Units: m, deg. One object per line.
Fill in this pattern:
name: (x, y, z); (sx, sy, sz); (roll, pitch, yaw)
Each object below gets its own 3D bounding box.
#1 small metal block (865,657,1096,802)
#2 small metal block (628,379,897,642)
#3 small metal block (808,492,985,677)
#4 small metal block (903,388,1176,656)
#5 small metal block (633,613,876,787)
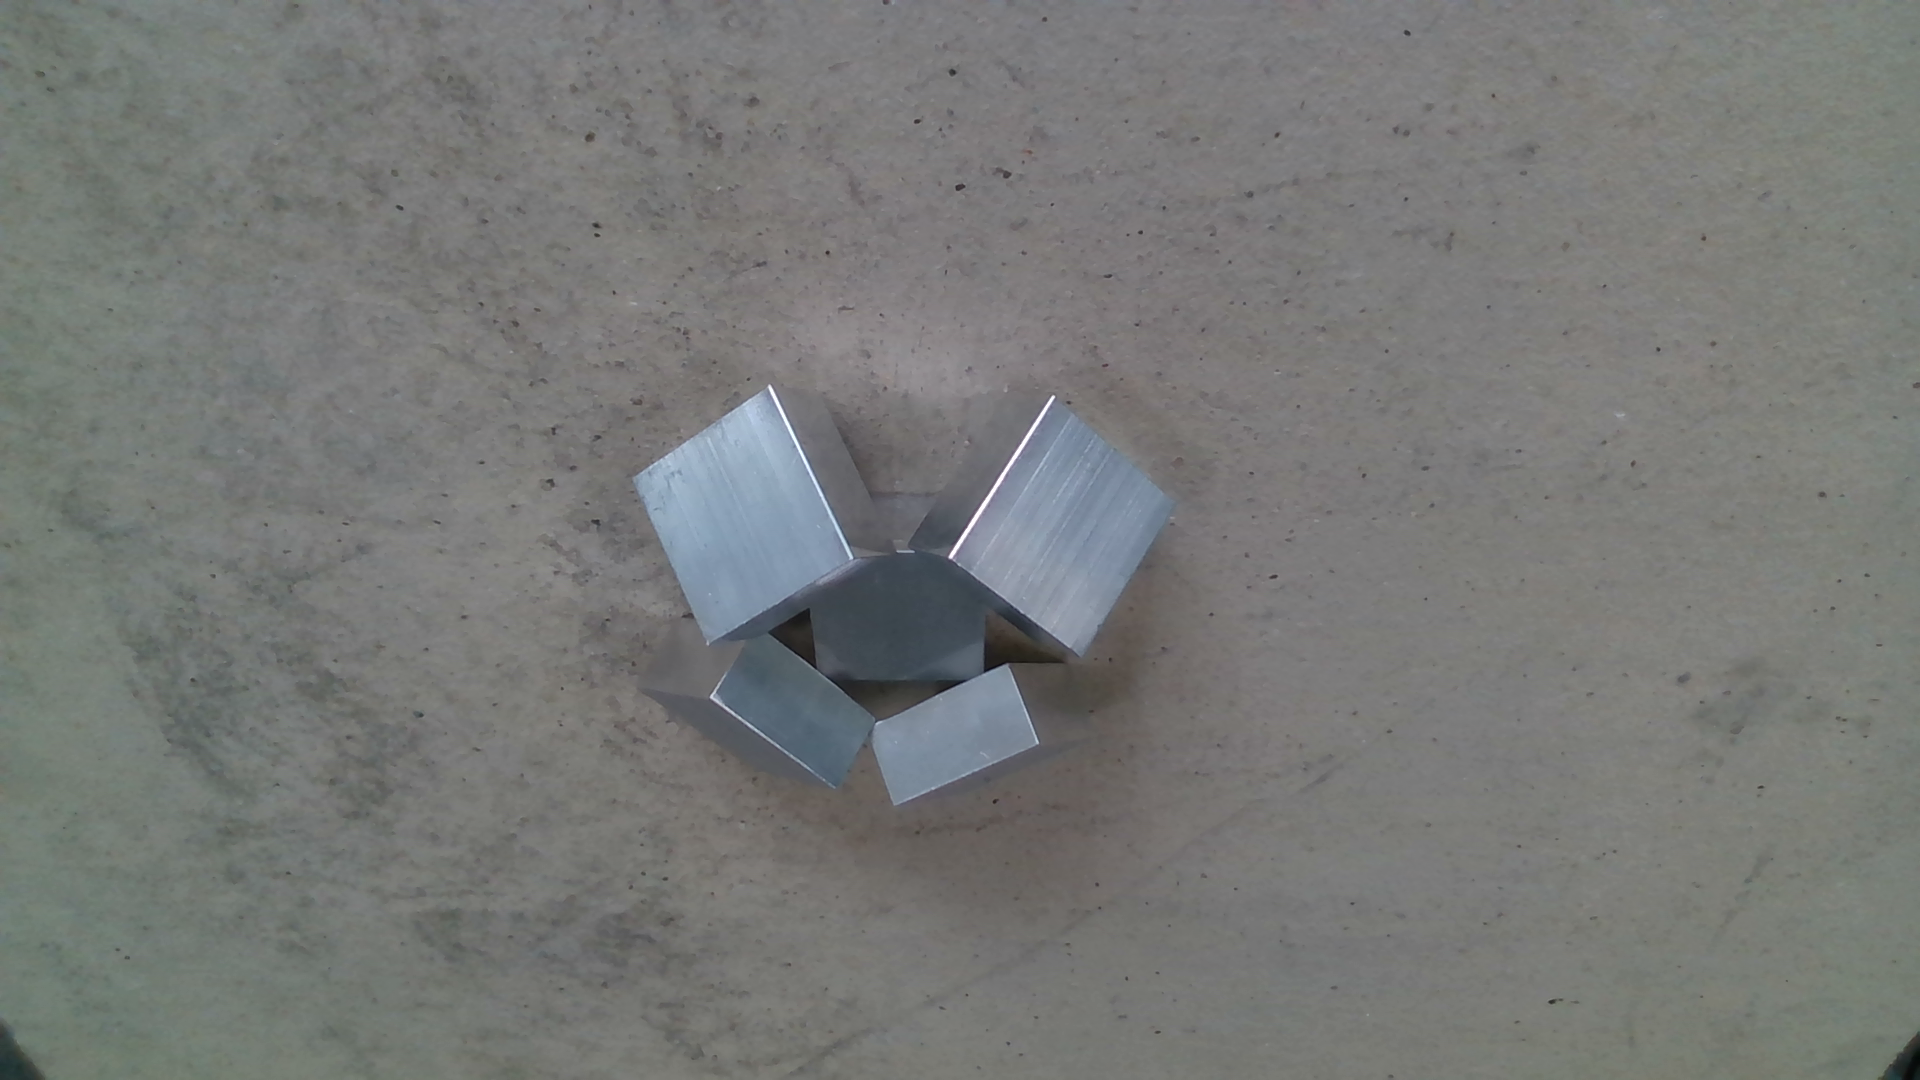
small metal block: (0.007, 0.057, 0.421); (0.050, 0.025, 0.050); (-26, 166, 21)
small metal block: (-0.053, -0.008, 0.365); (0.050, 0.025, 0.050); (-30, 80, 23)
small metal block: (-0.018, 0.013, 0.400); (0.050, 0.025, 0.050); (0, 132, 0)
small metal block: (0.022, -0.005, 0.368); (0.050, 0.025, 0.050); (37, 80, -28)
small metal block: (-0.062, 0.047, 0.413); (0.050, 0.025, 0.050); (42, 156, -29)
